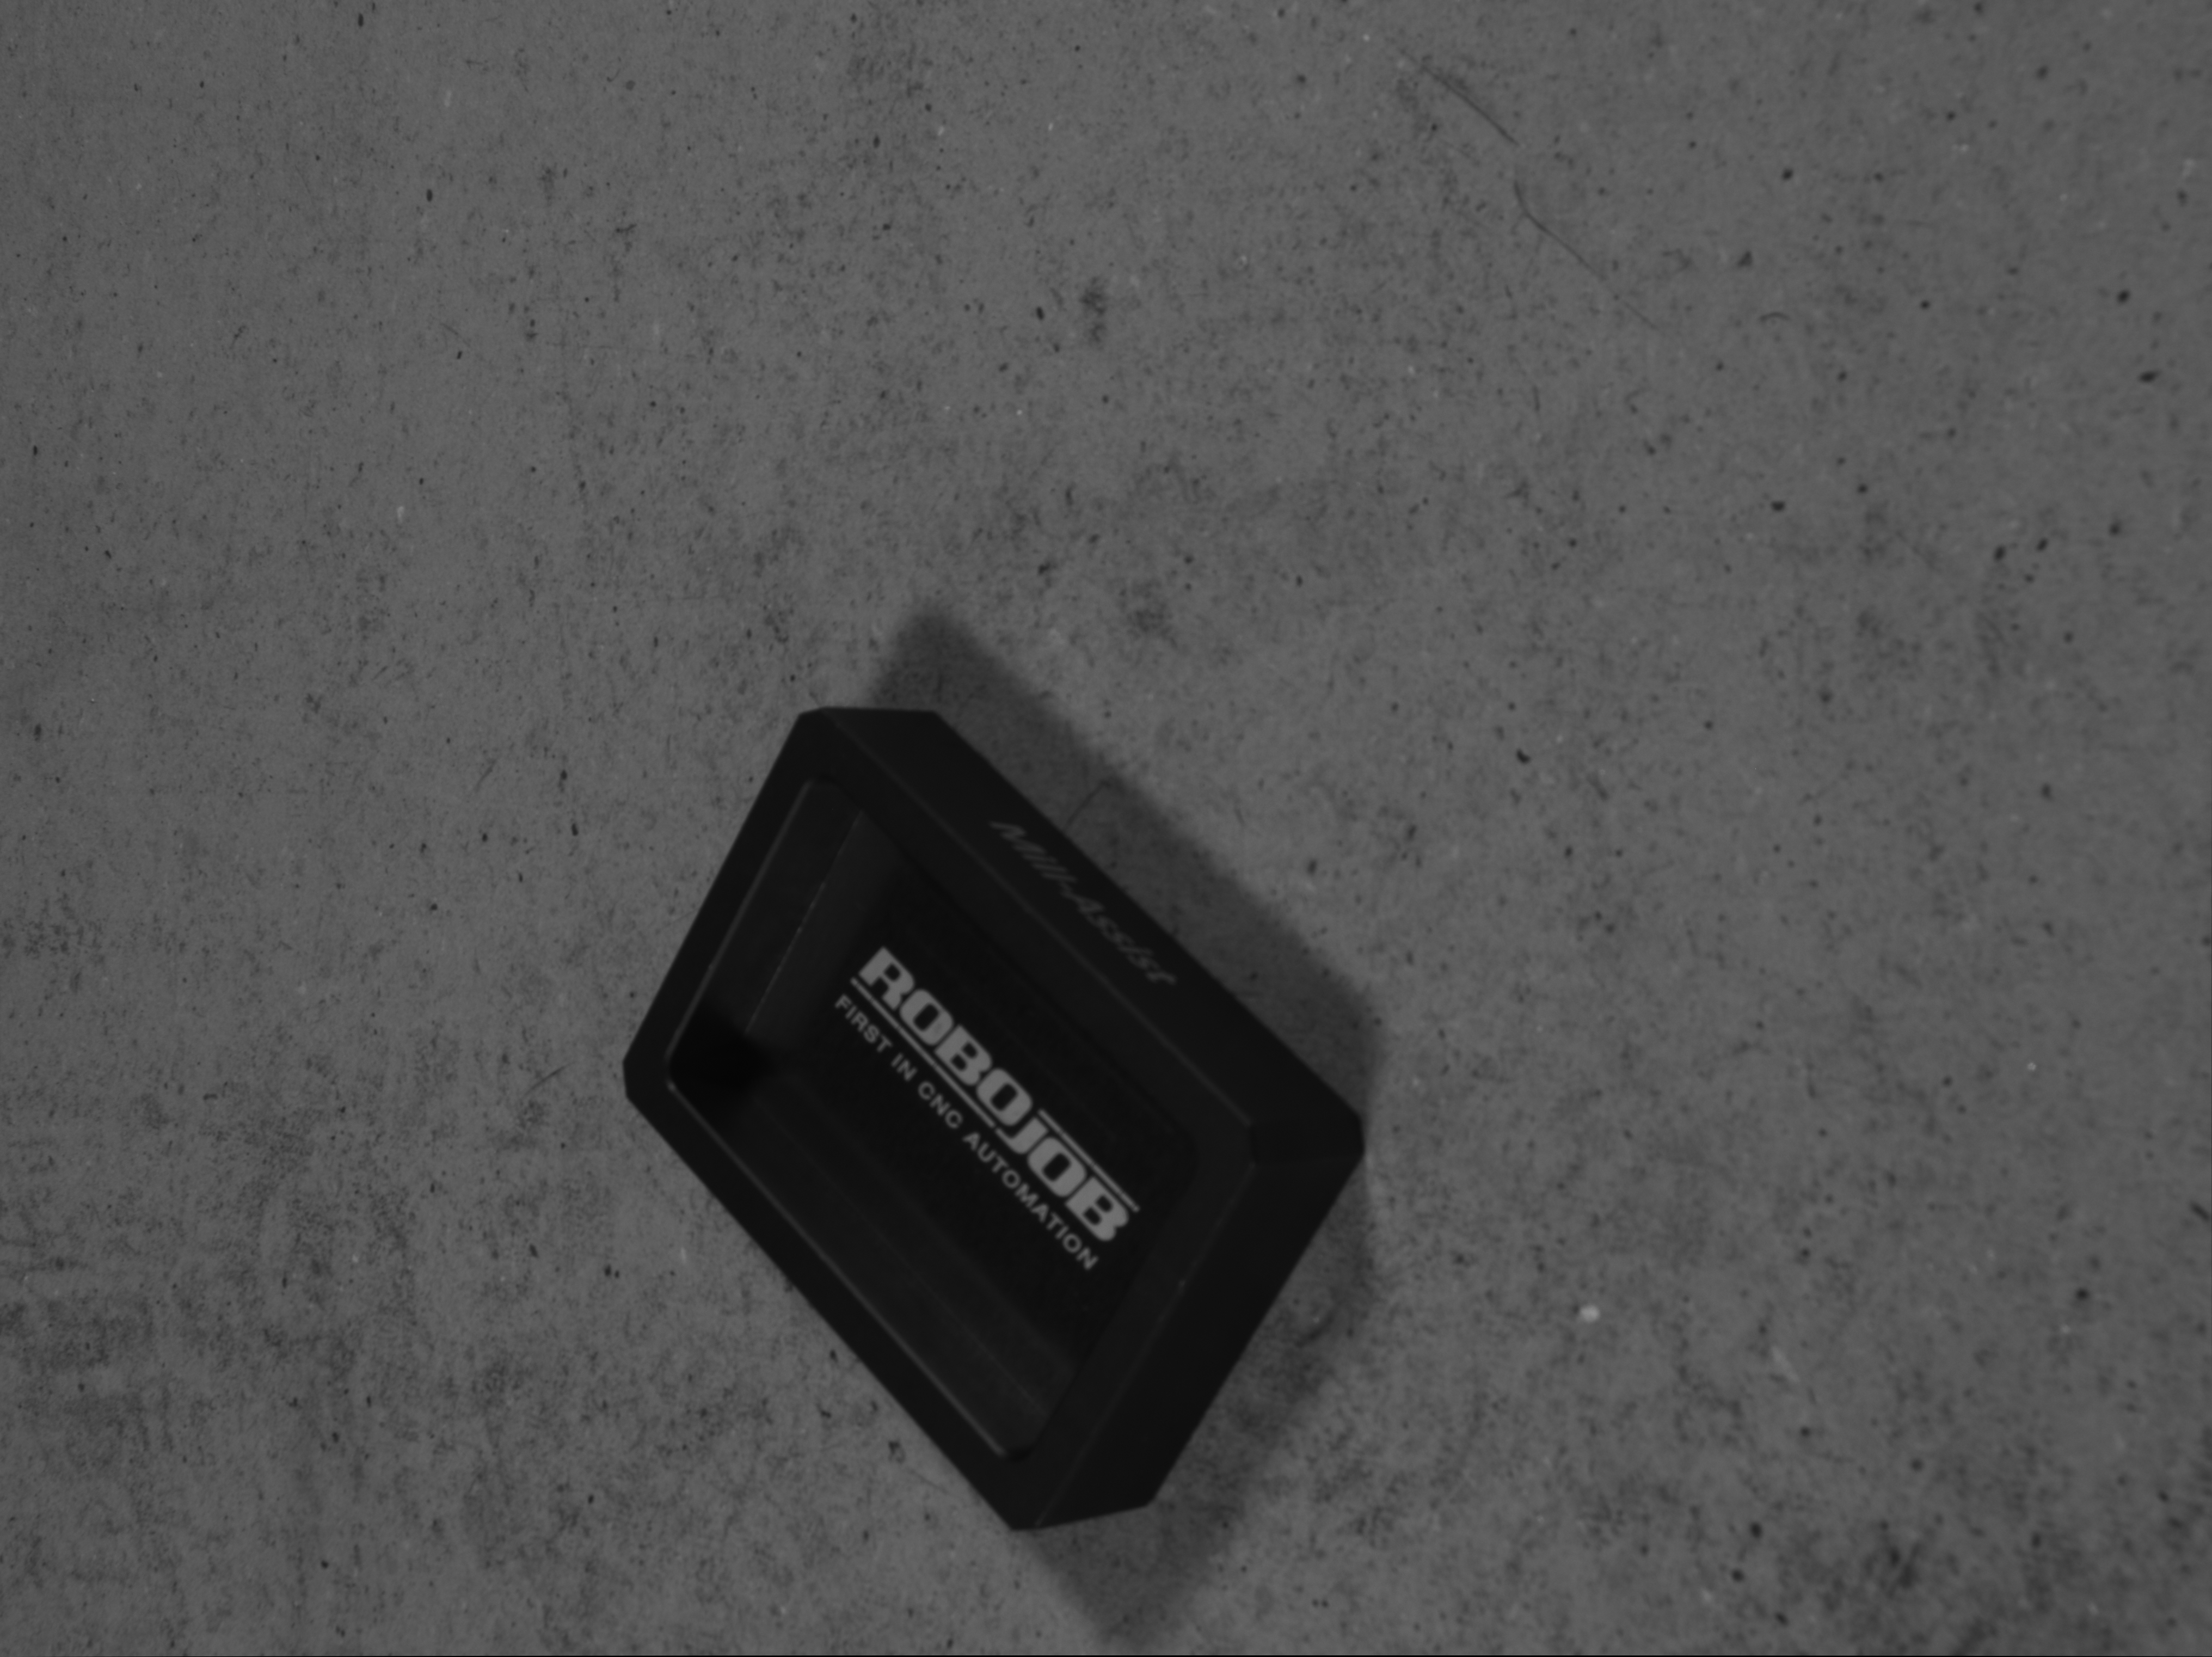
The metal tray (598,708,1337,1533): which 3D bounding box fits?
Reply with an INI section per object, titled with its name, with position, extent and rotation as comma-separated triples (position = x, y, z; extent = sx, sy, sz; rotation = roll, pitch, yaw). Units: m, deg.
[metal tray]
position = -0.029, 0.050, 0.656
extent = 0.130, 0.030, 0.090
rotation = 43, 116, 31
